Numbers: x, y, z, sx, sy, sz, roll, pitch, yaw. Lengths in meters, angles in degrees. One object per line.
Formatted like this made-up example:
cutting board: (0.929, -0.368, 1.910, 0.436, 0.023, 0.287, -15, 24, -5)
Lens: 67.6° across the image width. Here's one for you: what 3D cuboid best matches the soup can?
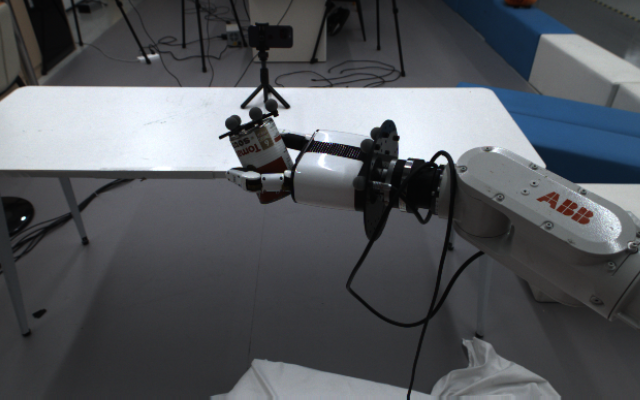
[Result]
soup can: (-0.074, -0.054, 0.675, 0.067, 0.101, 0.067, -23, 16, 7)
